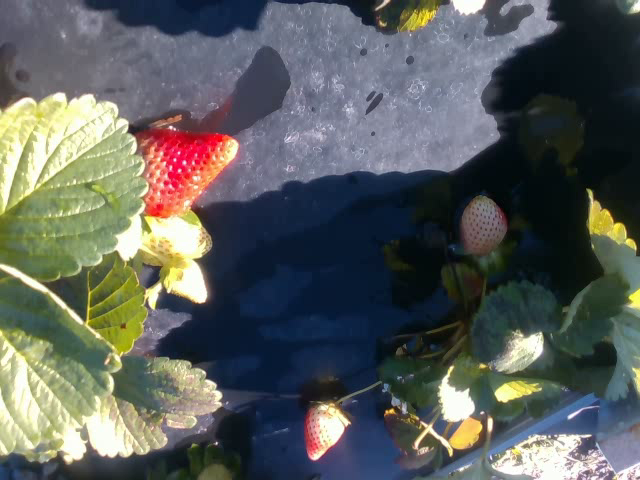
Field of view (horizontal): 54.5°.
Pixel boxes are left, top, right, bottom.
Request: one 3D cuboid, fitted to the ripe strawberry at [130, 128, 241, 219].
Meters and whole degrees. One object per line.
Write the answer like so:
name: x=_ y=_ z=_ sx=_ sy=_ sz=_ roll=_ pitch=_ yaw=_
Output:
ripe strawberry: x=-0.063 y=-0.036 z=0.281 sx=0.064 sy=0.052 sz=0.050 roll=-24 pitch=-15 yaw=15
